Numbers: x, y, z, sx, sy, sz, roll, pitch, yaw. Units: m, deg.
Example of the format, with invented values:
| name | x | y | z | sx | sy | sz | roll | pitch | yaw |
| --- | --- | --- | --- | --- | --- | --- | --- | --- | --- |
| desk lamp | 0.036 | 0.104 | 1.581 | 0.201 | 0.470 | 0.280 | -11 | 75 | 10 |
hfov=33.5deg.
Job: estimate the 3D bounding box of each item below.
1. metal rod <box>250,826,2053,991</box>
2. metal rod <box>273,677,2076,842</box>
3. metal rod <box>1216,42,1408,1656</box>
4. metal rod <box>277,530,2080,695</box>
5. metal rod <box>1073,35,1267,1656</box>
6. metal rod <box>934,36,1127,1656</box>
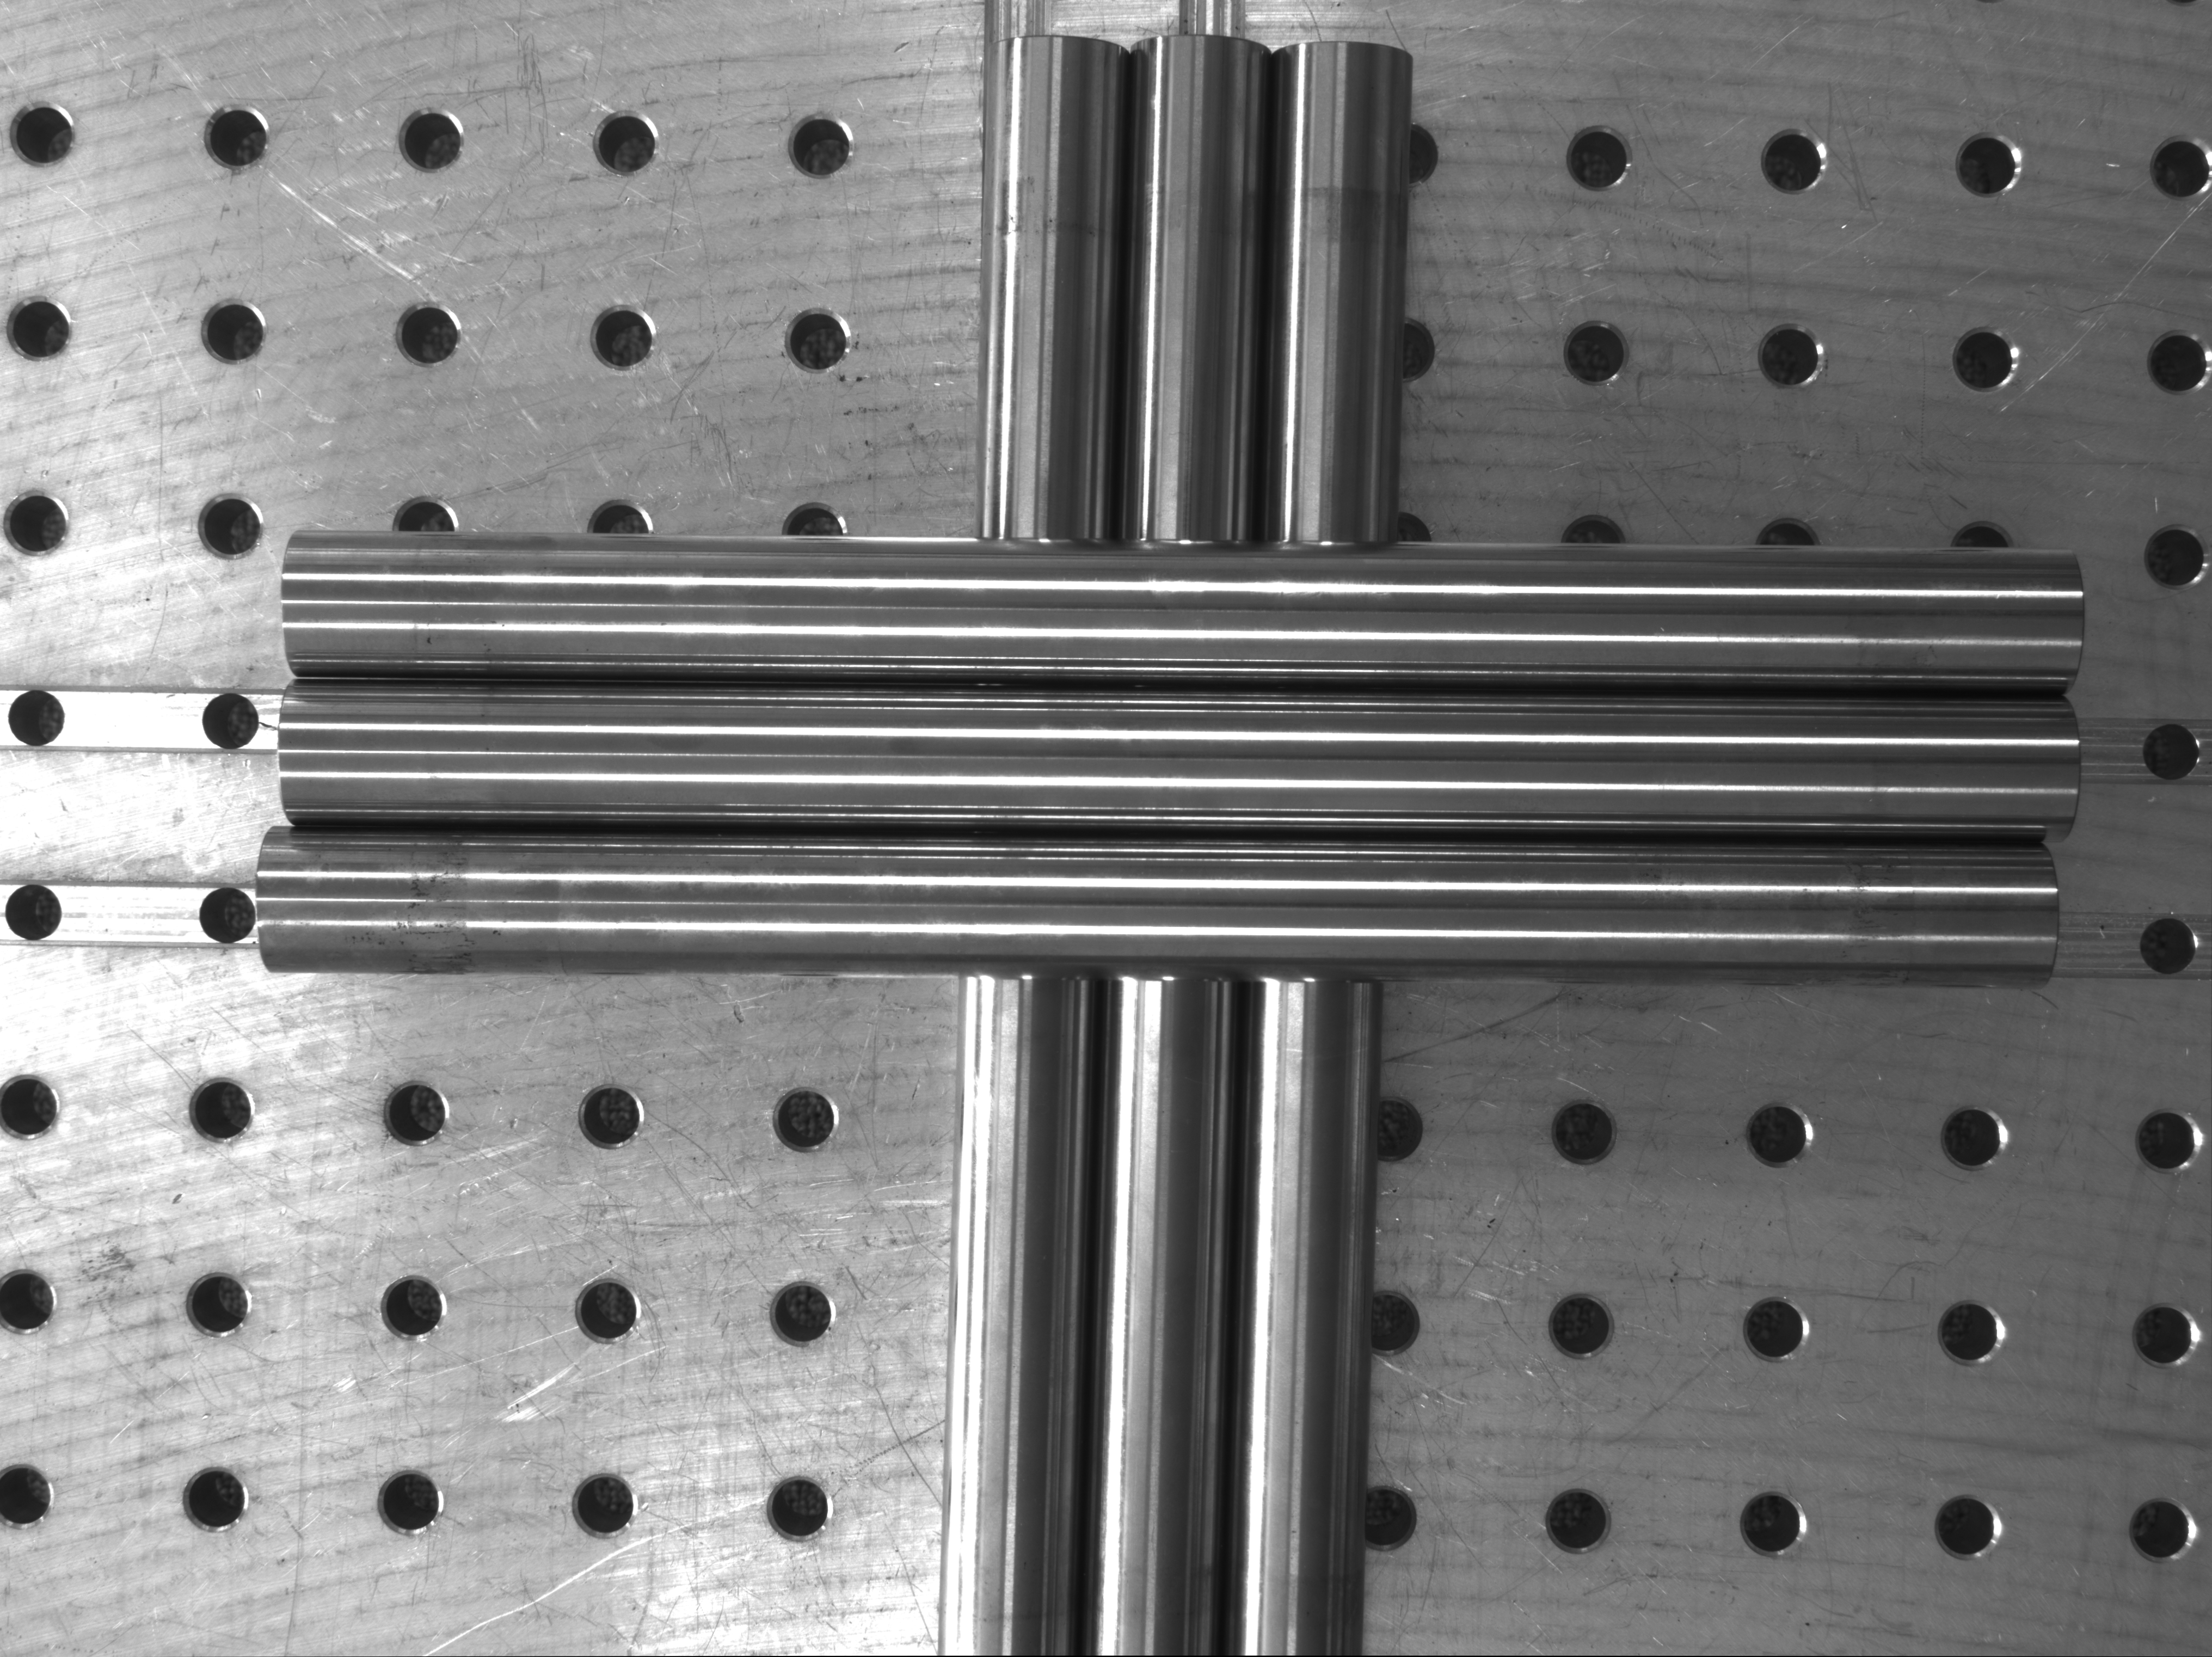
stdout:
| name | x | y | z | sx | sy | sz | roll | pitch | yaw |
| --- | --- | --- | --- | --- | --- | --- | --- | --- | --- |
| metal rod | 0.008 | 0.013 | 0.623 | 0.300 | 0.025 | 0.025 | 1 | 90 | 0 |
| metal rod | 0.011 | -0.012 | 0.623 | 0.300 | 0.025 | 0.025 | 1 | 90 | 0 |
| metal rod | 0.036 | 0.014 | 0.648 | 0.025 | 0.025 | 0.300 | 2 | 90 | 0 |
| metal rod | 0.012 | -0.037 | 0.623 | 0.300 | 0.025 | 0.025 | 1 | 90 | 0 |
| metal rod | 0.011 | 0.013 | 0.648 | 0.025 | 0.025 | 0.300 | 2 | 90 | 0 |
| metal rod | -0.014 | 0.013 | 0.648 | 0.025 | 0.025 | 0.300 | 2 | 90 | 0 |
